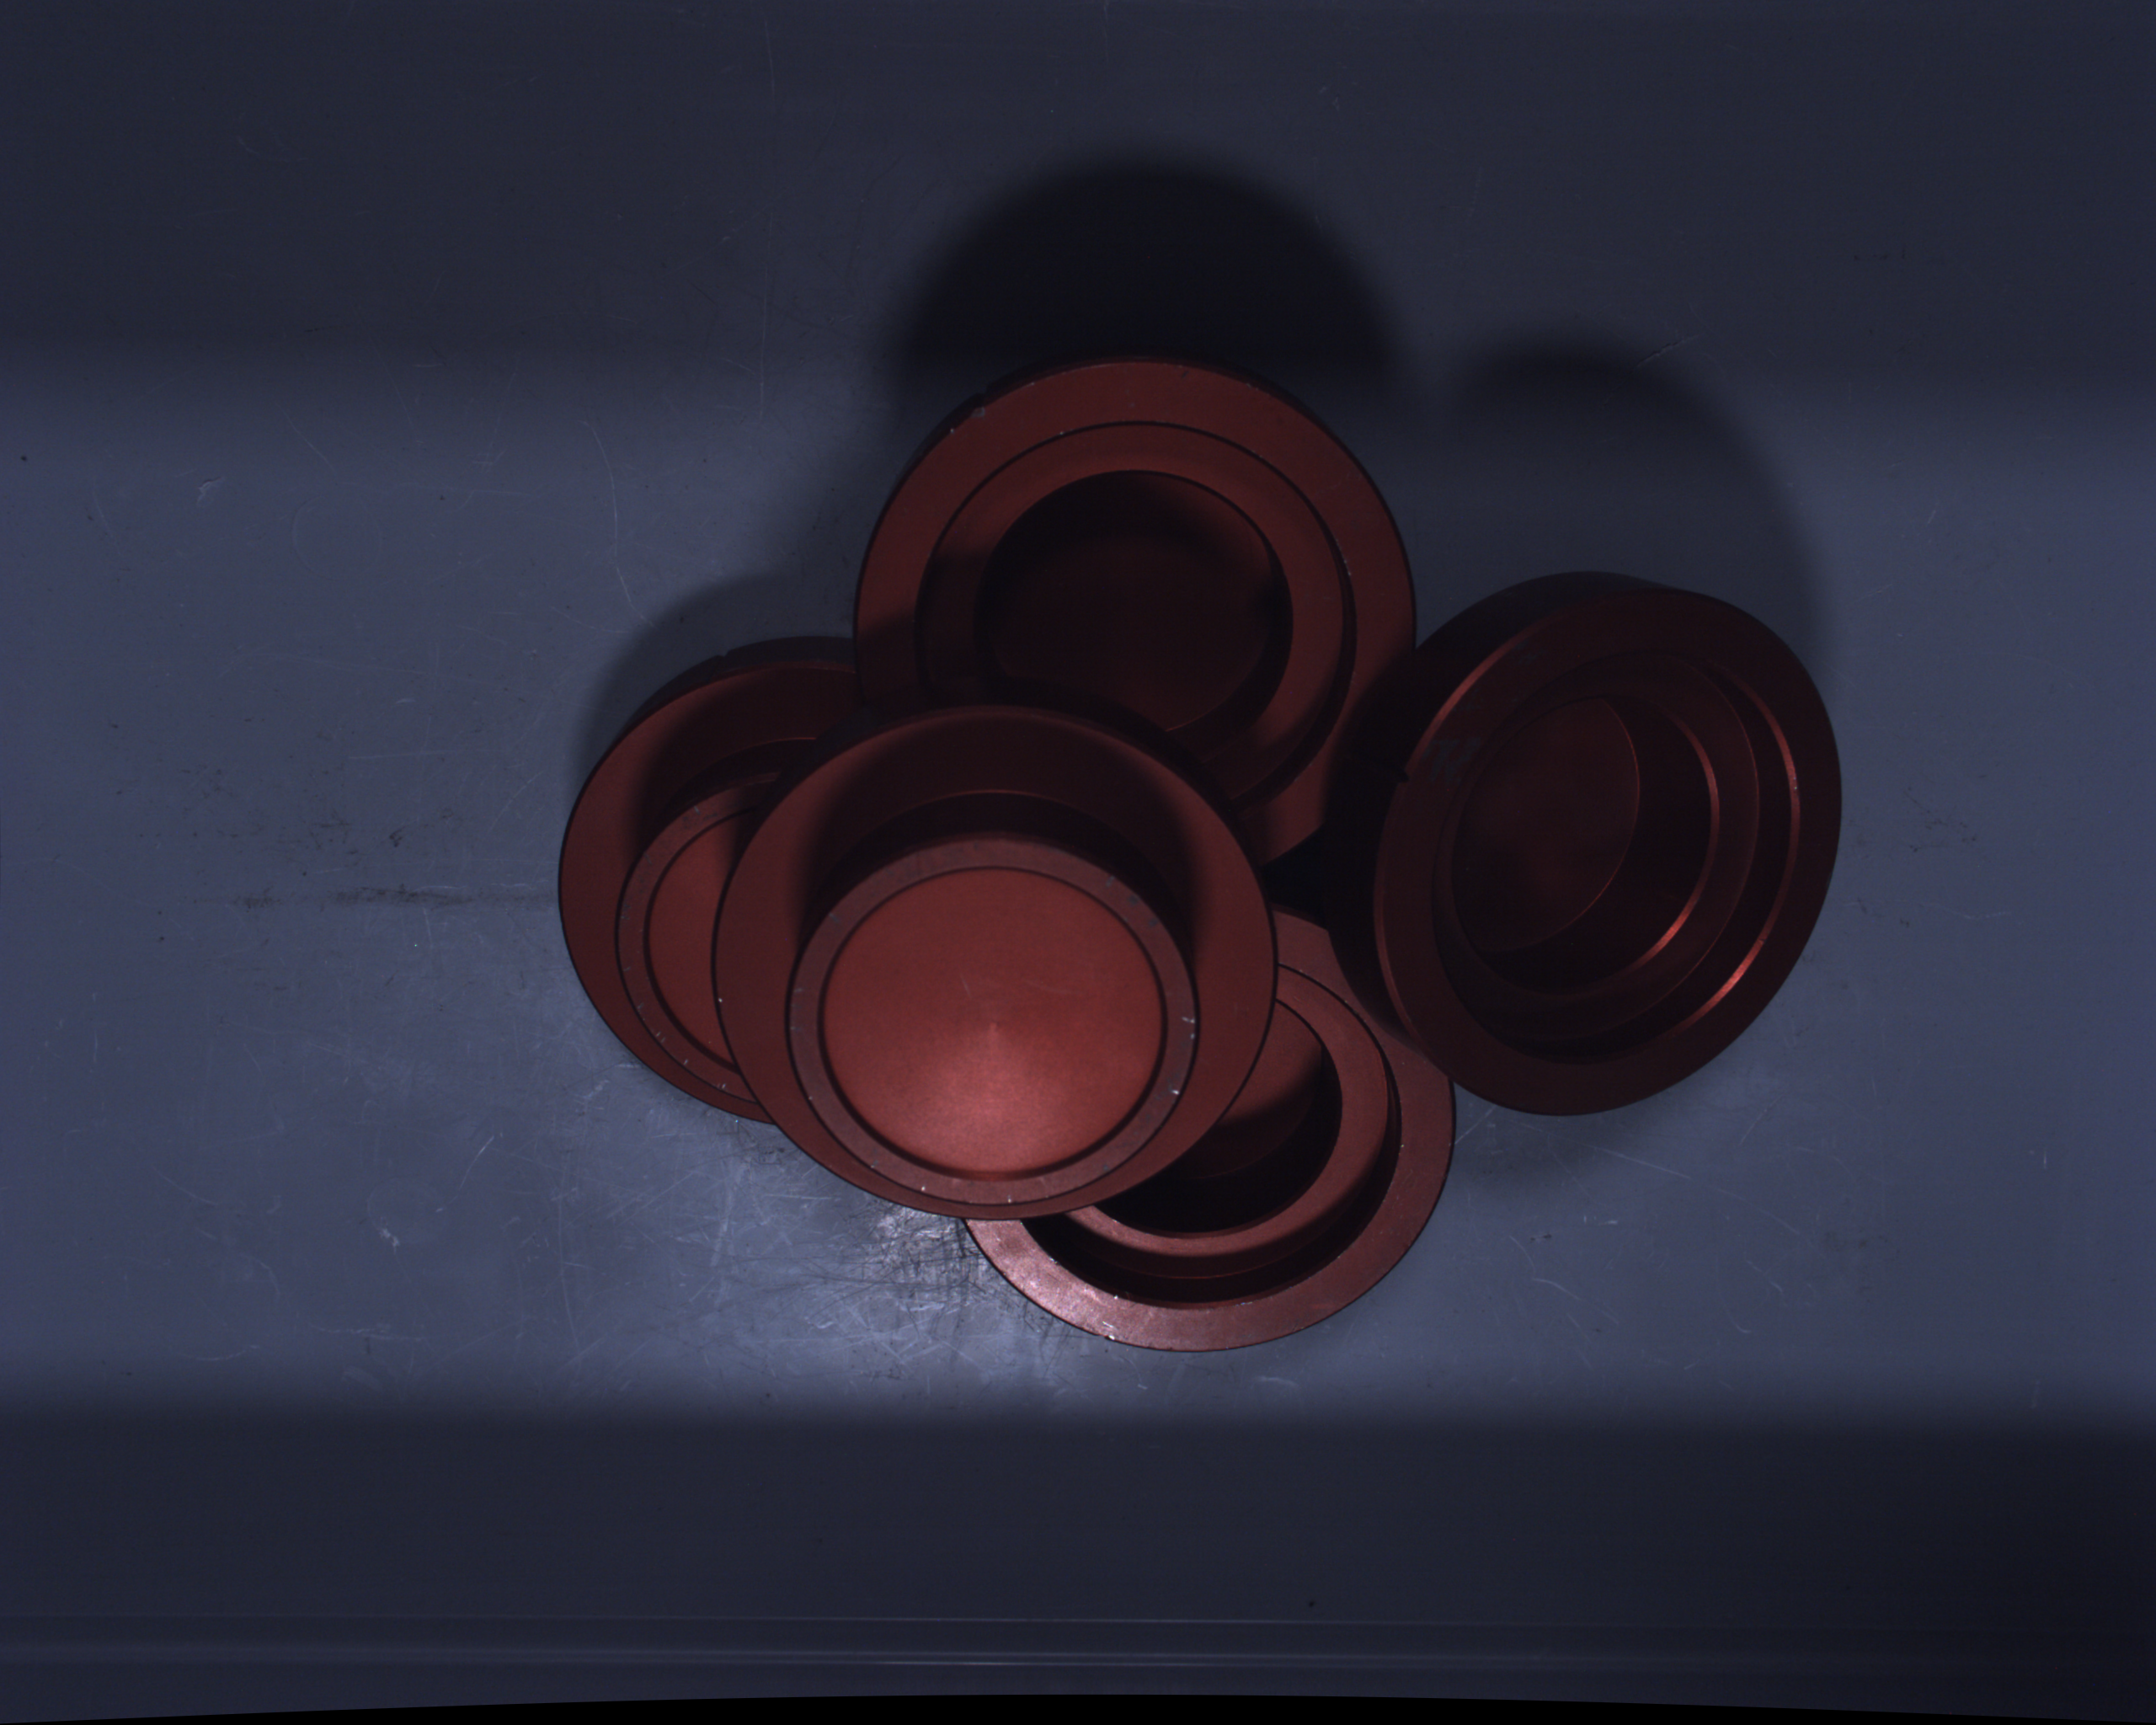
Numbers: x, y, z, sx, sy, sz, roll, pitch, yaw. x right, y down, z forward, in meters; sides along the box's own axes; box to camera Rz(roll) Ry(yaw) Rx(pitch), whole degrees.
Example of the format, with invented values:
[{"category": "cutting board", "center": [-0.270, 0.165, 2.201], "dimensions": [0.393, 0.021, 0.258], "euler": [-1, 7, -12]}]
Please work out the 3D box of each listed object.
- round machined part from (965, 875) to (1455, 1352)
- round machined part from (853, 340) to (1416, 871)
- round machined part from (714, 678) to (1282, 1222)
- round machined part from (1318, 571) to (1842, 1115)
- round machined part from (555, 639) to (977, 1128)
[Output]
[{"category": "round machined part", "center": [0.023, 0.045, 0.417], "dimensions": [0.099, 0.042, 0.097], "euler": [0, 110, -1]}, {"category": "round machined part", "center": [0.010, -0.046, 0.384], "dimensions": [0.099, 0.042, 0.097], "euler": [0, 110, -1]}, {"category": "round machined part", "center": [-0.014, 0.020, 0.361], "dimensions": [0.099, 0.042, 0.097], "euler": [0, 110, -1]}, {"category": "round machined part", "center": [0.088, -0.006, 0.388], "dimensions": [0.099, 0.042, 0.097], "euler": [-7, 109, -20]}, {"category": "round machined part", "center": [-0.051, 0.009, 0.401], "dimensions": [0.099, 0.042, 0.097], "euler": [0, 110, -1]}]
